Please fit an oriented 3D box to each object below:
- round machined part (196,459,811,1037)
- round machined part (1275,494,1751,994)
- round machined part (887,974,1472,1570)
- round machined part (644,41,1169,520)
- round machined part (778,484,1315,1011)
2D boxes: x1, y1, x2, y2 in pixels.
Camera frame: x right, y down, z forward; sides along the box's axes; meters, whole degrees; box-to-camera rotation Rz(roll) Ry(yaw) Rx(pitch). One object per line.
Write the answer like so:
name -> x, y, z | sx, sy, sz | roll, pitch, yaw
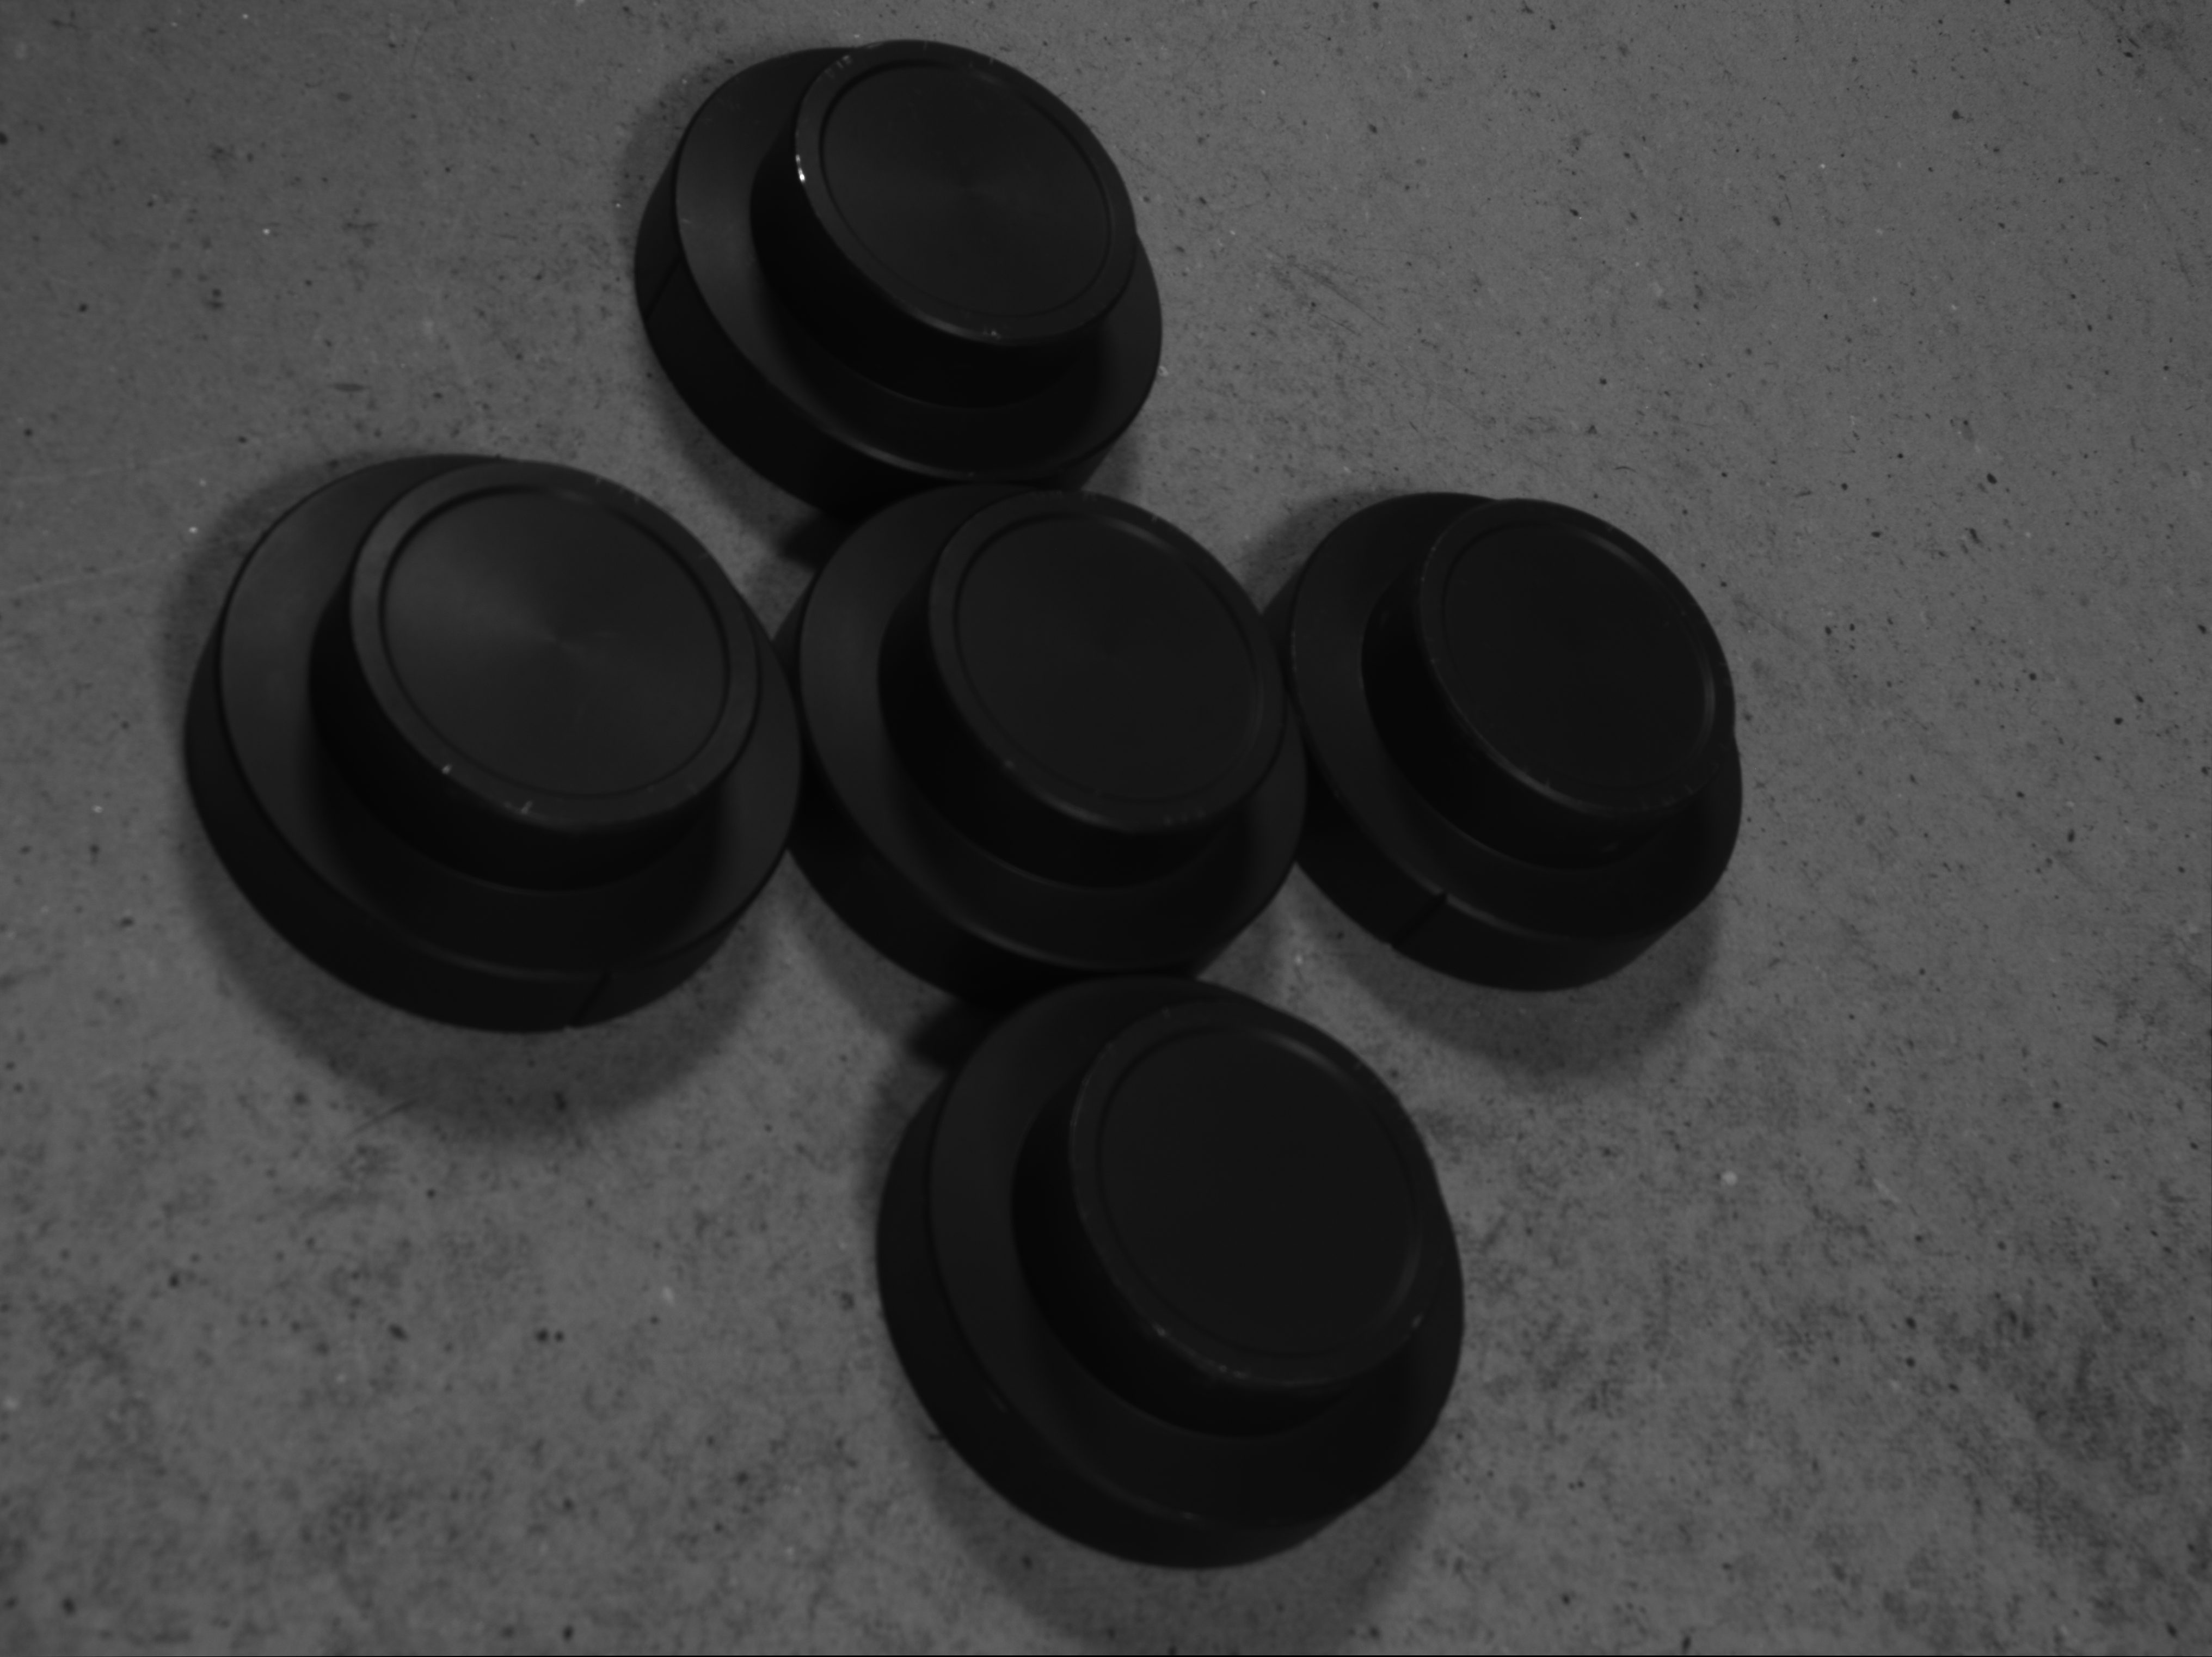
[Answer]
round machined part -> -0.093, -0.019, 0.591 | 0.098, 0.042, 0.098 | 14, 56, -21
round machined part -> 0.079, -0.022, 0.685 | 0.098, 0.042, 0.098 | 14, 56, -21
round machined part -> 0.017, 0.067, 0.597 | 0.098, 0.042, 0.098 | 14, 56, -21
round machined part -> -0.032, -0.106, 0.677 | 0.098, 0.042, 0.098 | 14, 56, -21
round machined part -> -0.007, -0.019, 0.637 | 0.098, 0.042, 0.098 | 14, 56, -21
